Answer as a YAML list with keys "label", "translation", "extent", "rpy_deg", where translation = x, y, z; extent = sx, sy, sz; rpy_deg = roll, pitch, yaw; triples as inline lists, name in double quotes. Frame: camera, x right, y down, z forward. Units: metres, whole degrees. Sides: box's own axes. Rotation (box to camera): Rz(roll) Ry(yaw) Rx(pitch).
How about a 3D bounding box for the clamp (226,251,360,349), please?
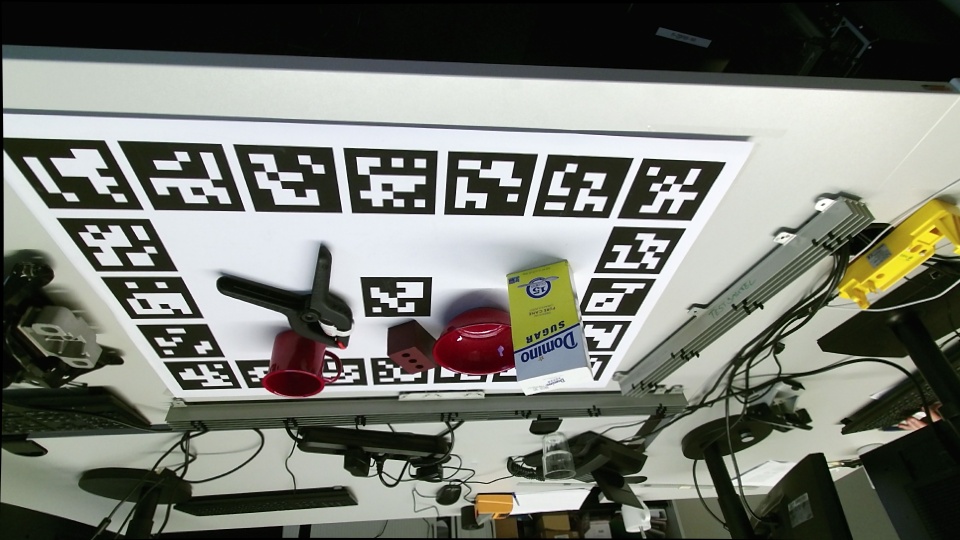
- label: "clamp"
  translation: [-0.236, 0.064, 0.779]
  extent: [0.166, 0.036, 0.203]
  rpy_deg: [-17, 136, 9]

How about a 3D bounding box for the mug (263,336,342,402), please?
- label: "mug"
  translation: [-0.279, 0.163, 0.857]
  extent: [0.118, 0.081, 0.093]
  rpy_deg: [21, 132, -23]

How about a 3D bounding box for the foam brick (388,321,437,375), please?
- label: "foam brick"
  translation: [-0.109, 0.130, 0.874]
  extent: [0.053, 0.051, 0.078]
  rpy_deg: [-19, 136, 13]

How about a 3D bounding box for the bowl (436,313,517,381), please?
- label: "bowl"
  translation: [0.010, 0.117, 0.862]
  extent: [0.162, 0.055, 0.162]
  rpy_deg: [-3, 138, -2]

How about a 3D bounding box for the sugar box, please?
- label: "sugar box"
  translation: [0.100, 0.073, 0.733]
  extent: [0.093, 0.175, 0.045]
  rpy_deg: [-16, 135, 13]
